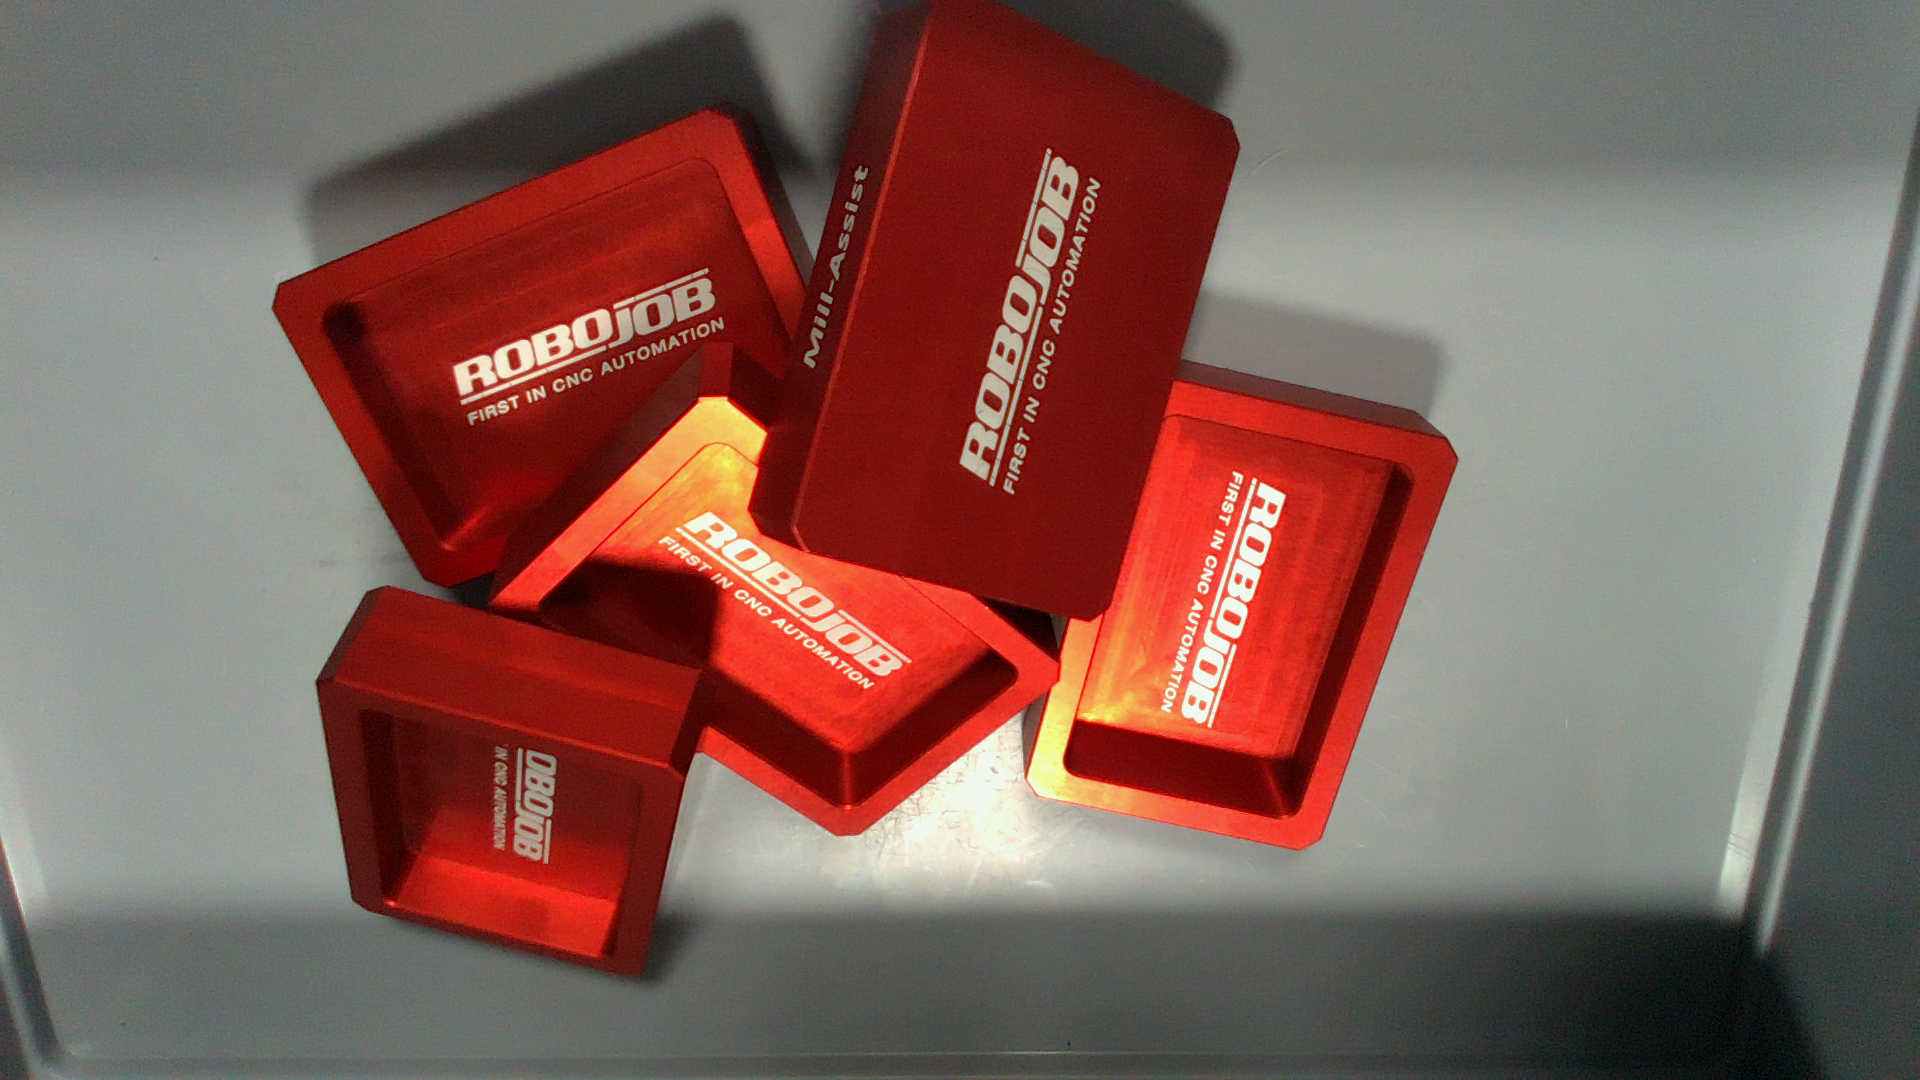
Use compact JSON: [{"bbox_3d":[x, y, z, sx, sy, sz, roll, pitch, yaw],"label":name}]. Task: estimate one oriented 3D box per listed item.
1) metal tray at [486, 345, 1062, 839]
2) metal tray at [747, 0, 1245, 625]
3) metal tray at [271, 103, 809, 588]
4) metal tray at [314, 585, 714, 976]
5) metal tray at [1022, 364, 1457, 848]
[{"bbox_3d":[-0.047,0.020,0.374,0.090,0.030,0.130,-40,120,20],"label":"metal tray"},{"bbox_3d":[0.010,-0.053,0.334,0.090,0.030,0.130,15,91,-30],"label":"metal tray"},{"bbox_3d":[-0.101,-0.051,0.371,0.130,0.030,0.090,-20,109,7],"label":"metal tray"},{"bbox_3d":[-0.124,0.073,0.385,0.090,0.030,0.130,16,138,-6],"label":"metal tray"},{"bbox_3d":[0.076,0.019,0.397,0.090,0.030,0.130,12,110,-4],"label":"metal tray"}]
